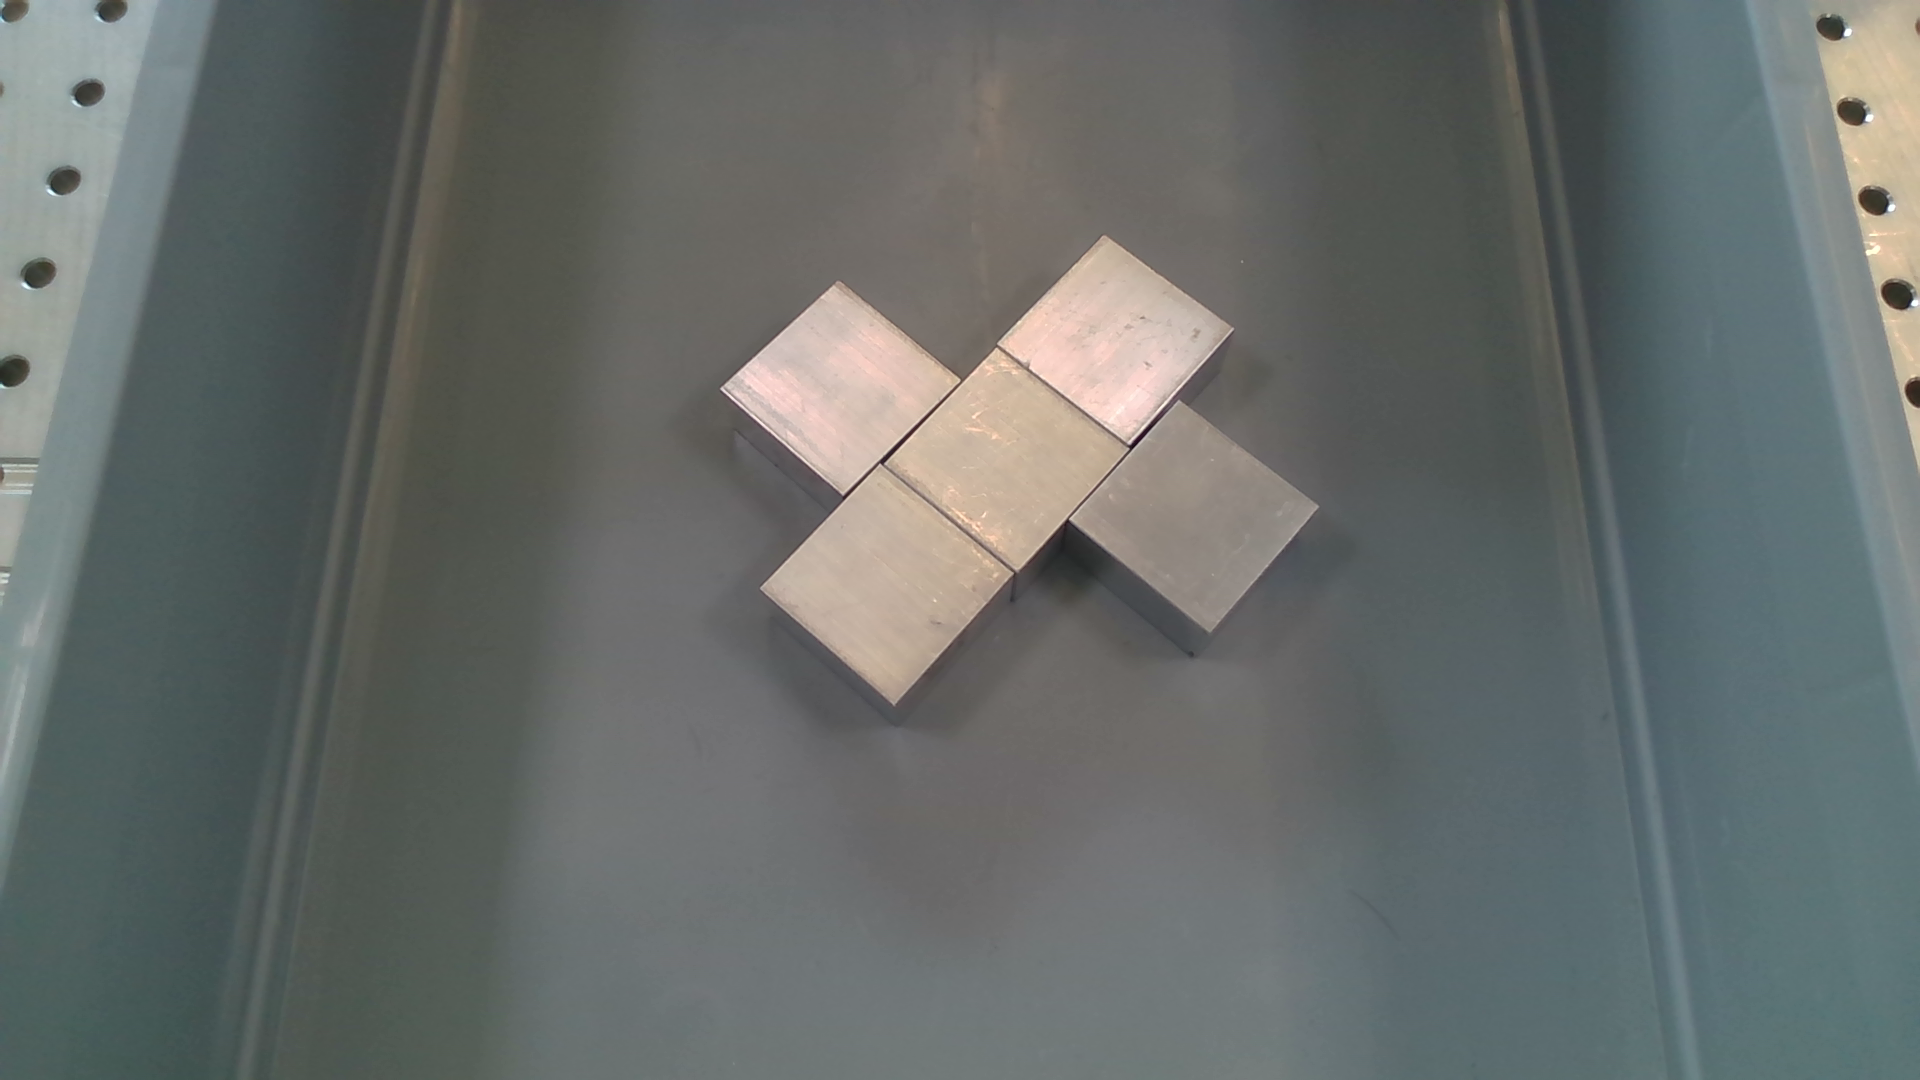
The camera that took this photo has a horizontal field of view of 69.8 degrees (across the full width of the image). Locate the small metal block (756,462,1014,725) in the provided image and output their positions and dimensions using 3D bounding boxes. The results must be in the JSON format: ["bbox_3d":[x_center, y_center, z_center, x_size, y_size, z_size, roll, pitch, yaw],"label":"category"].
[{"bbox_3d":[-0.020,0.015,0.388,0.050,0.025,0.050,40,75,13],"label":"small metal block"}]

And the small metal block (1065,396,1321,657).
[{"bbox_3d":[0.065,-0.004,0.395,0.050,0.025,0.050,40,75,12],"label":"small metal block"}]

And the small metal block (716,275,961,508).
[{"bbox_3d":[-0.035,-0.041,0.409,0.050,0.025,0.050,41,75,14],"label":"small metal block"}]

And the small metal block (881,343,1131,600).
[{"bbox_3d":[0.013,-0.020,0.400,0.050,0.025,0.050,40,75,13],"label":"small metal block"}]

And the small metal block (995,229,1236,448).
[{"bbox_3d":[0.045,-0.056,0.414,0.050,0.025,0.050,40,75,13],"label":"small metal block"}]
